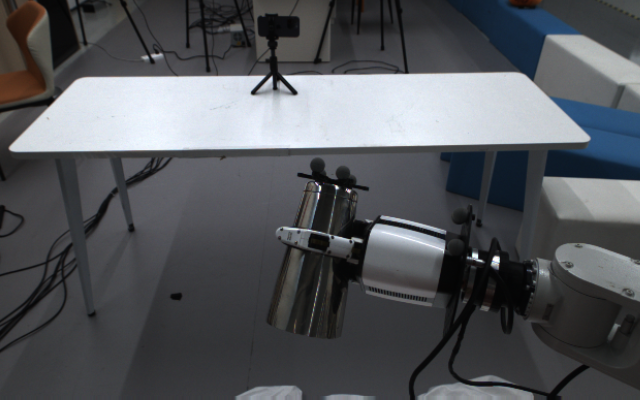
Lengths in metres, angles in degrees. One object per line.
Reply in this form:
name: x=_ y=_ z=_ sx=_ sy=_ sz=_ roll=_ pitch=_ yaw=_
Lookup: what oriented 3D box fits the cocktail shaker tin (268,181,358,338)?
cocktail shaker tin: x=-0.001 y=0.069 z=0.581 sx=0.093 sy=0.170 sz=0.093 roll=12 pitch=-5 yaw=1
